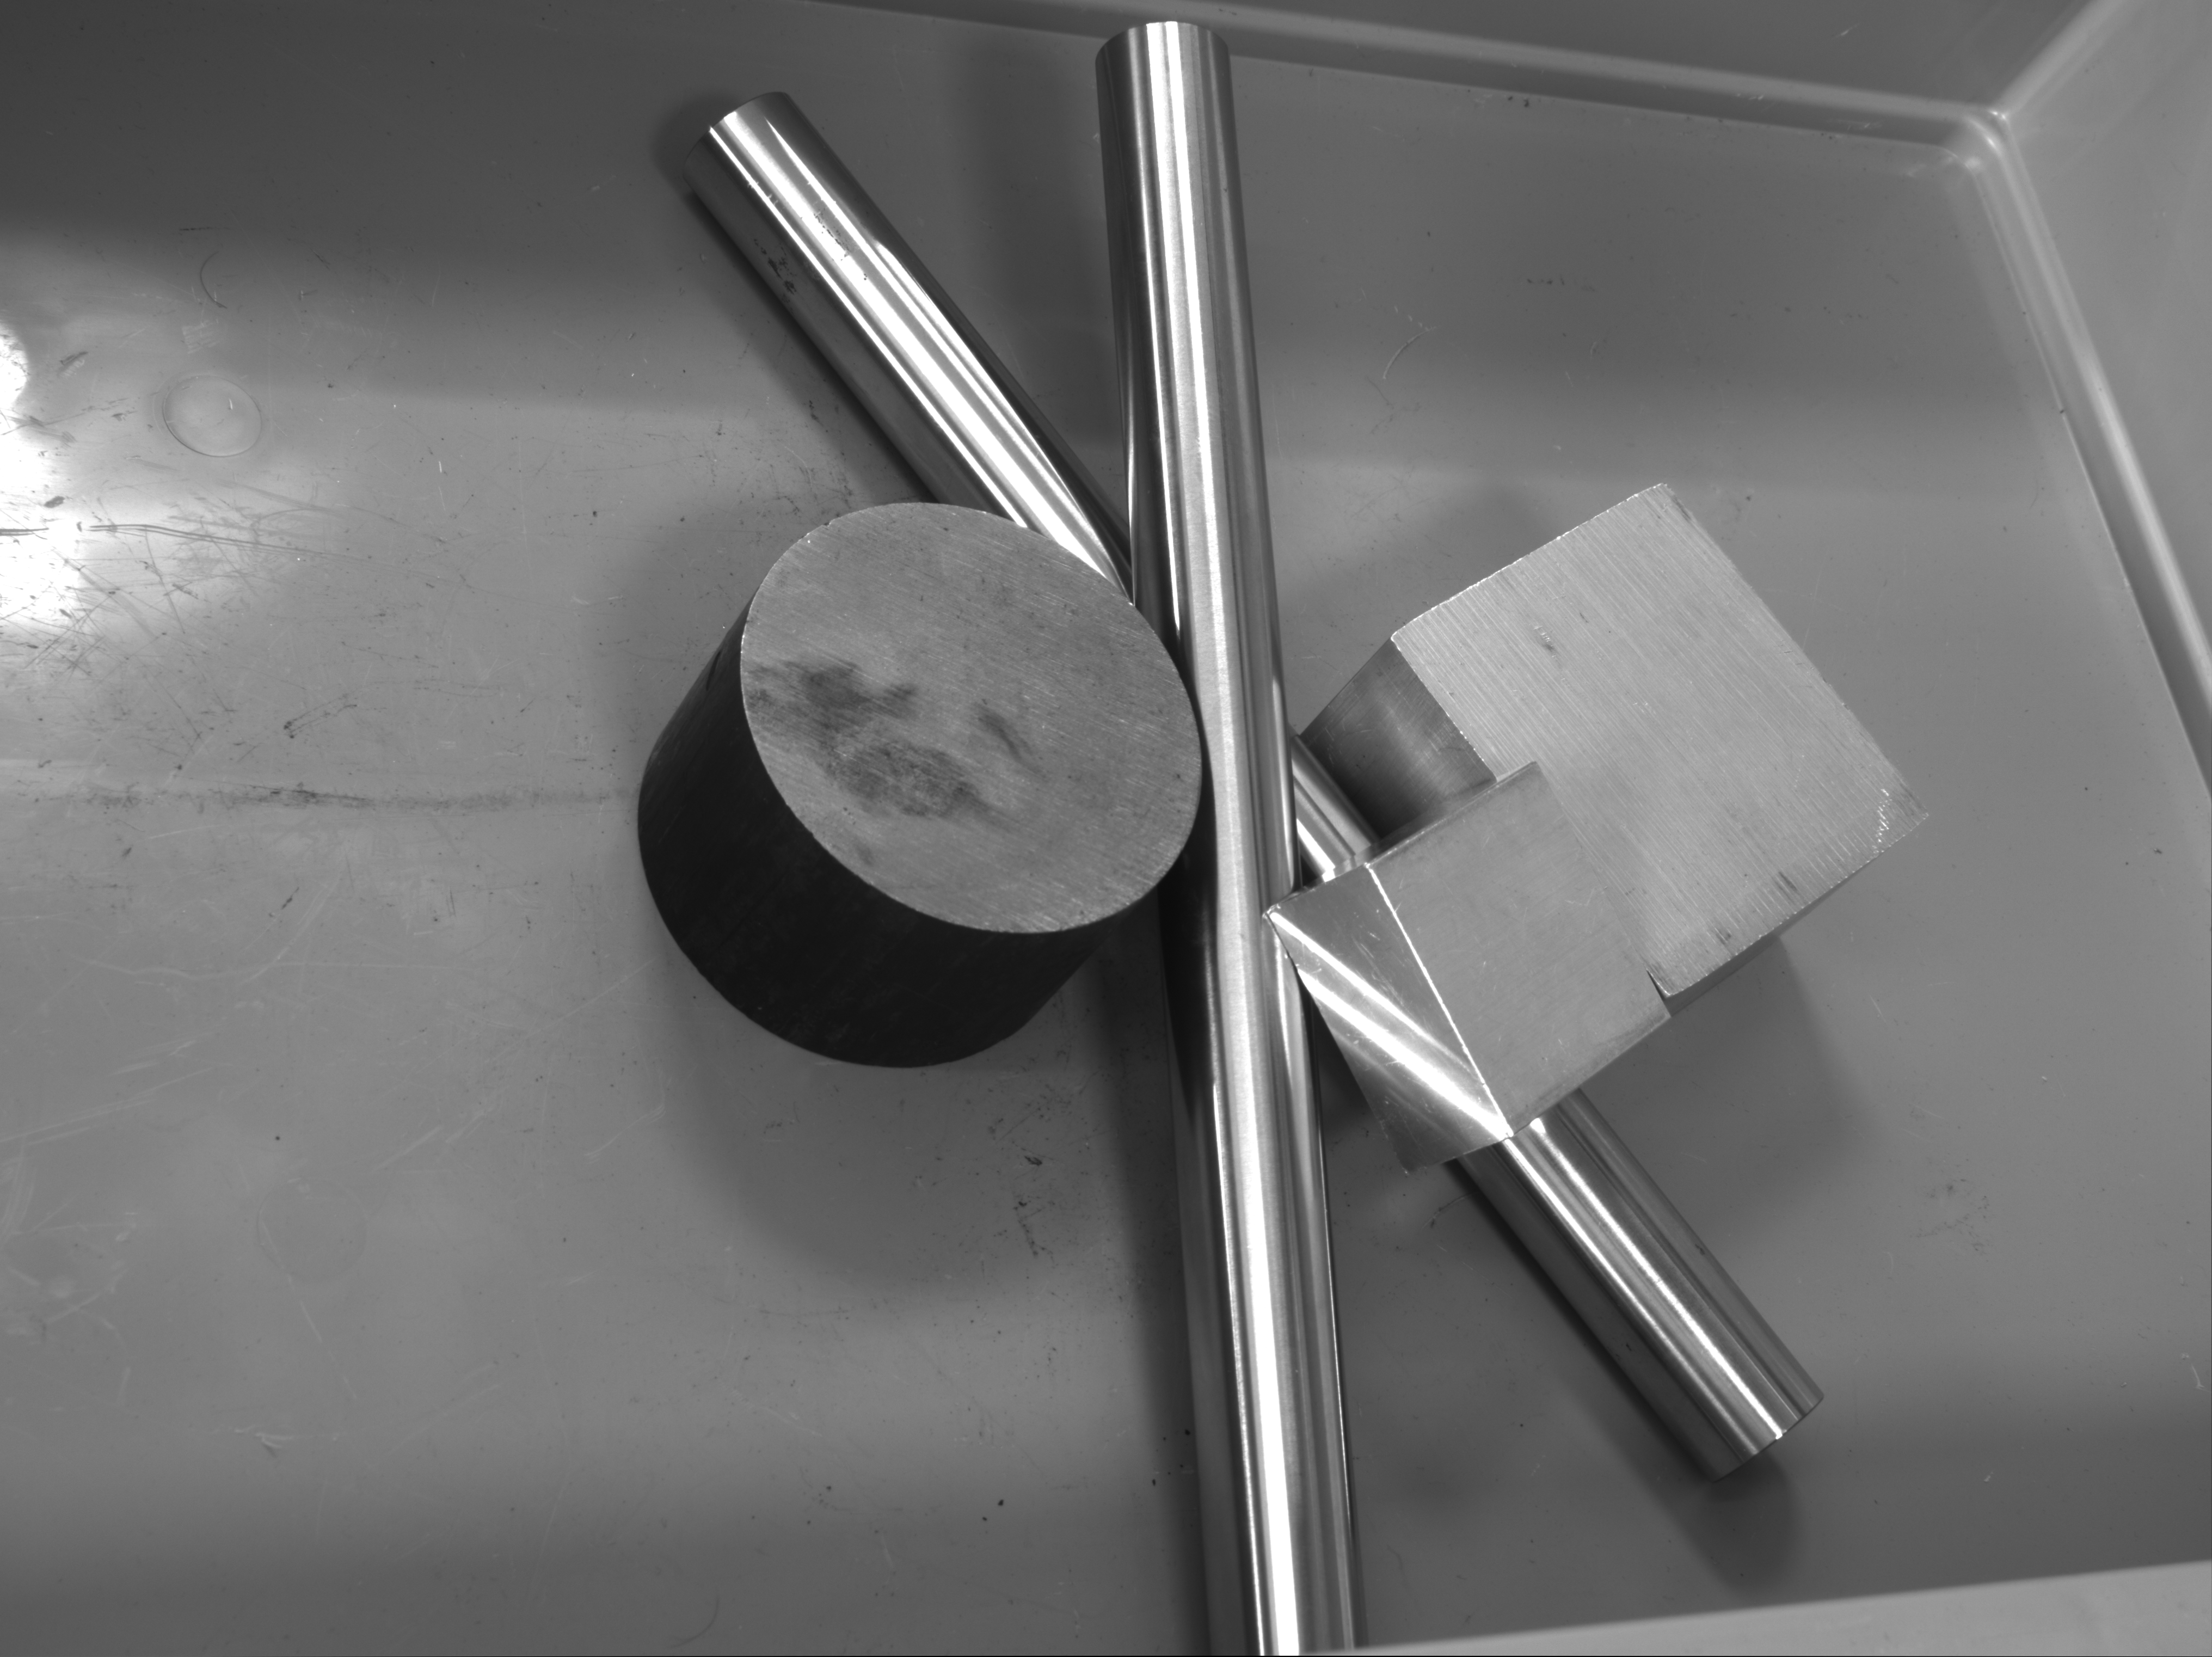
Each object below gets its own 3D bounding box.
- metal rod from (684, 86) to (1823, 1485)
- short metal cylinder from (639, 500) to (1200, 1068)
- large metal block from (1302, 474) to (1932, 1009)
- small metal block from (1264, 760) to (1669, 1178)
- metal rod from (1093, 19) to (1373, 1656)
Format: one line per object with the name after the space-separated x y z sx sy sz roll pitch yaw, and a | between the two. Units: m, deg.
0.023 -0.011 0.657 0.025 0.025 0.300 -31 80 -38 | metal rod
-0.031 -0.007 0.610 0.080 0.050 0.080 14 56 -21 | short metal cylinder
0.089 -0.007 0.673 0.080 0.050 0.080 -30 78 -38 | large metal block
0.061 0.023 0.616 0.050 0.025 0.050 -29 93 -45 | small metal block
0.020 -0.003 0.625 0.025 0.025 0.300 6 67 -25 | metal rod
